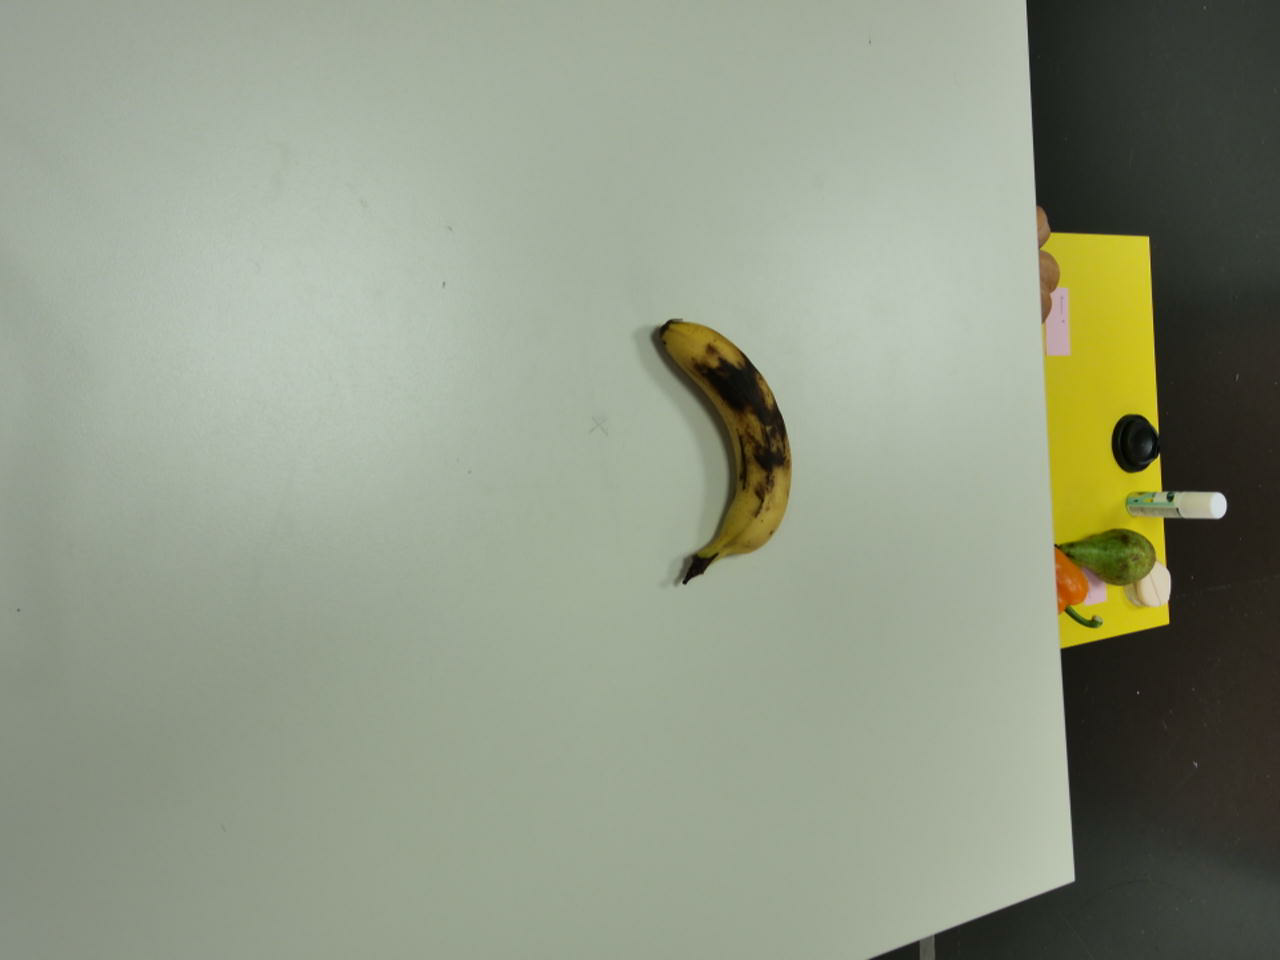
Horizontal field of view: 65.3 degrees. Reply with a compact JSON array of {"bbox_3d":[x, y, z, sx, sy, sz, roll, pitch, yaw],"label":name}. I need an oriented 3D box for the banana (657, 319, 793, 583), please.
[{"bbox_3d":[0.066,-0.026,0.725,0.094,0.039,0.187,-6,94,-28],"label":"banana"}]
